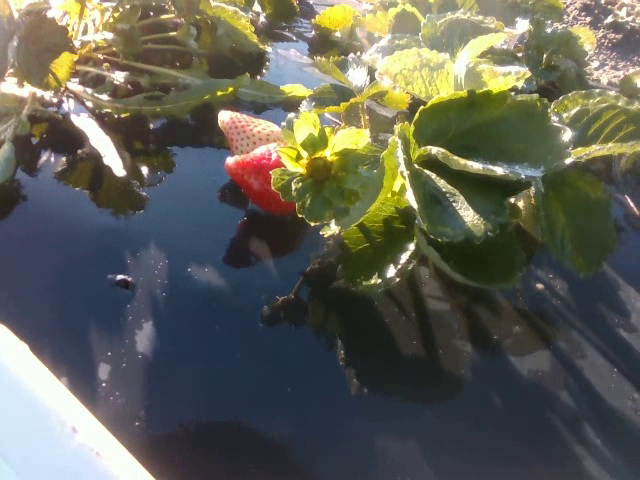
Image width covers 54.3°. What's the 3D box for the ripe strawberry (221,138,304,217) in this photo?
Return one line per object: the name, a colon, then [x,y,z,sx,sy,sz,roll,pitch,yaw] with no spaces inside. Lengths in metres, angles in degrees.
ripe strawberry: [-0.027,-0.034,0.293,0.040,0.038,0.055,6,-19,44]
